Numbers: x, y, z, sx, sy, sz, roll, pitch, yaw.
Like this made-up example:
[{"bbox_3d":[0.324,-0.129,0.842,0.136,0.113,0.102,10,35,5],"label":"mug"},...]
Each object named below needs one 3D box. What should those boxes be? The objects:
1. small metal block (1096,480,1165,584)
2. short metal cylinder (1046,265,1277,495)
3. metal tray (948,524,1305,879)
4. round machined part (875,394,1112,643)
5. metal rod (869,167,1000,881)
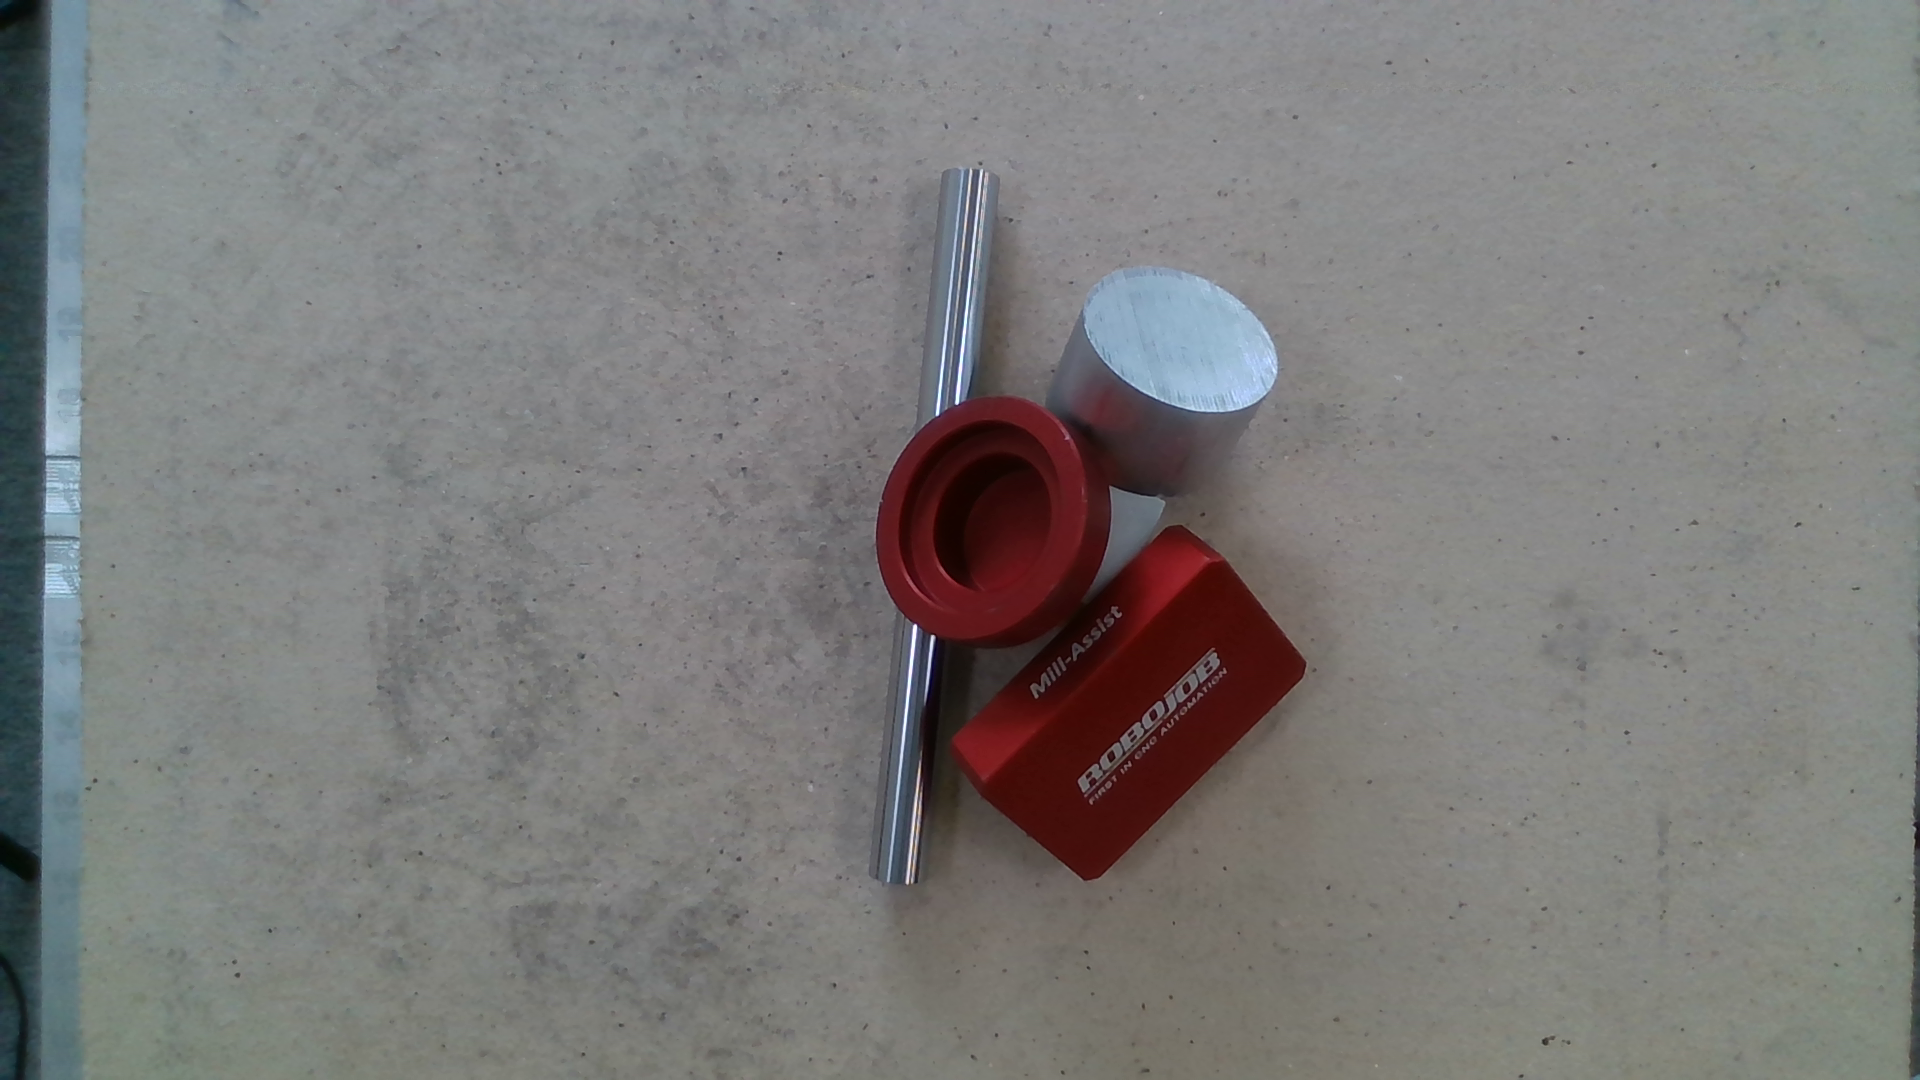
[{"bbox_3d":[0.060,0.002,0.573,0.025,0.050,0.050,24,90,0],"label":"small metal block"},{"bbox_3d":[0.080,-0.065,0.555,0.080,0.050,0.080,9,50,-11],"label":"short metal cylinder"},{"bbox_3d":[0.069,0.068,0.560,0.130,0.030,0.090,-45,129,1],"label":"metal tray"},{"bbox_3d":[0.017,-0.005,0.548,0.098,0.042,0.098,-9,73,33],"label":"round machined part"},{"bbox_3d":[-0.011,-0.006,0.588,0.025,0.025,0.300,6,91,0],"label":"metal rod"}]
